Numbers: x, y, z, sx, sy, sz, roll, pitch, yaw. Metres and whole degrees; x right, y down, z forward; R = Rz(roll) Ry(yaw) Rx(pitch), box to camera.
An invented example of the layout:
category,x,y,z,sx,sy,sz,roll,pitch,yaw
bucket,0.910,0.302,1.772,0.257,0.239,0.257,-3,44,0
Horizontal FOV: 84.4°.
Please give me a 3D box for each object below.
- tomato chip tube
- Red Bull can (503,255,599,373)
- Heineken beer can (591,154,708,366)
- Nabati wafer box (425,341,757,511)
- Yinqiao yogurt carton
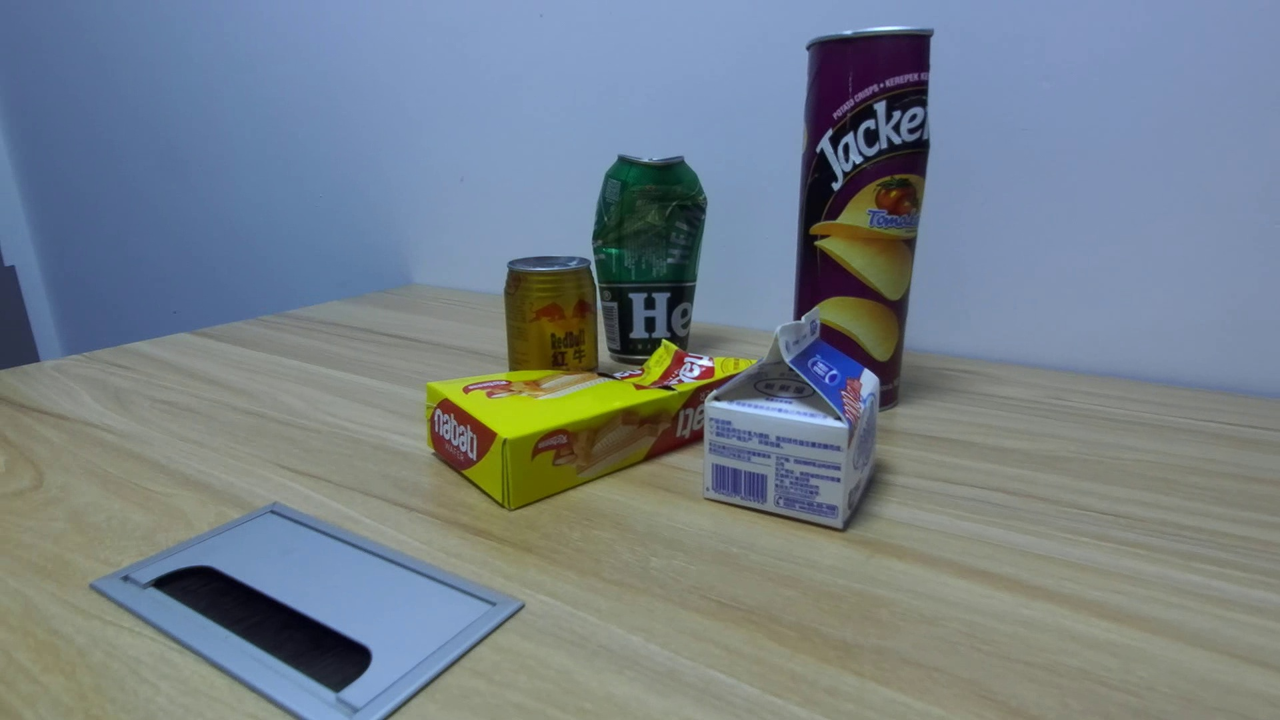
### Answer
category,x,y,z,sx,sy,sz,roll,pitch,yaw
tomato chip tube,0.144,-0.087,0.470,0.076,0.235,0.078,3,16,13
Red Bull can,-0.064,-0.024,0.516,0.067,0.093,0.067,0,16,0
Heineken beer can,0.005,-0.080,0.572,0.077,0.164,0.066,15,24,35
Nabati wafer box,-0.019,0.025,0.439,0.205,0.042,0.106,-12,21,-38
Yinqiao yogurt carton,0.078,0.022,0.355,0.073,0.092,0.076,8,17,28
